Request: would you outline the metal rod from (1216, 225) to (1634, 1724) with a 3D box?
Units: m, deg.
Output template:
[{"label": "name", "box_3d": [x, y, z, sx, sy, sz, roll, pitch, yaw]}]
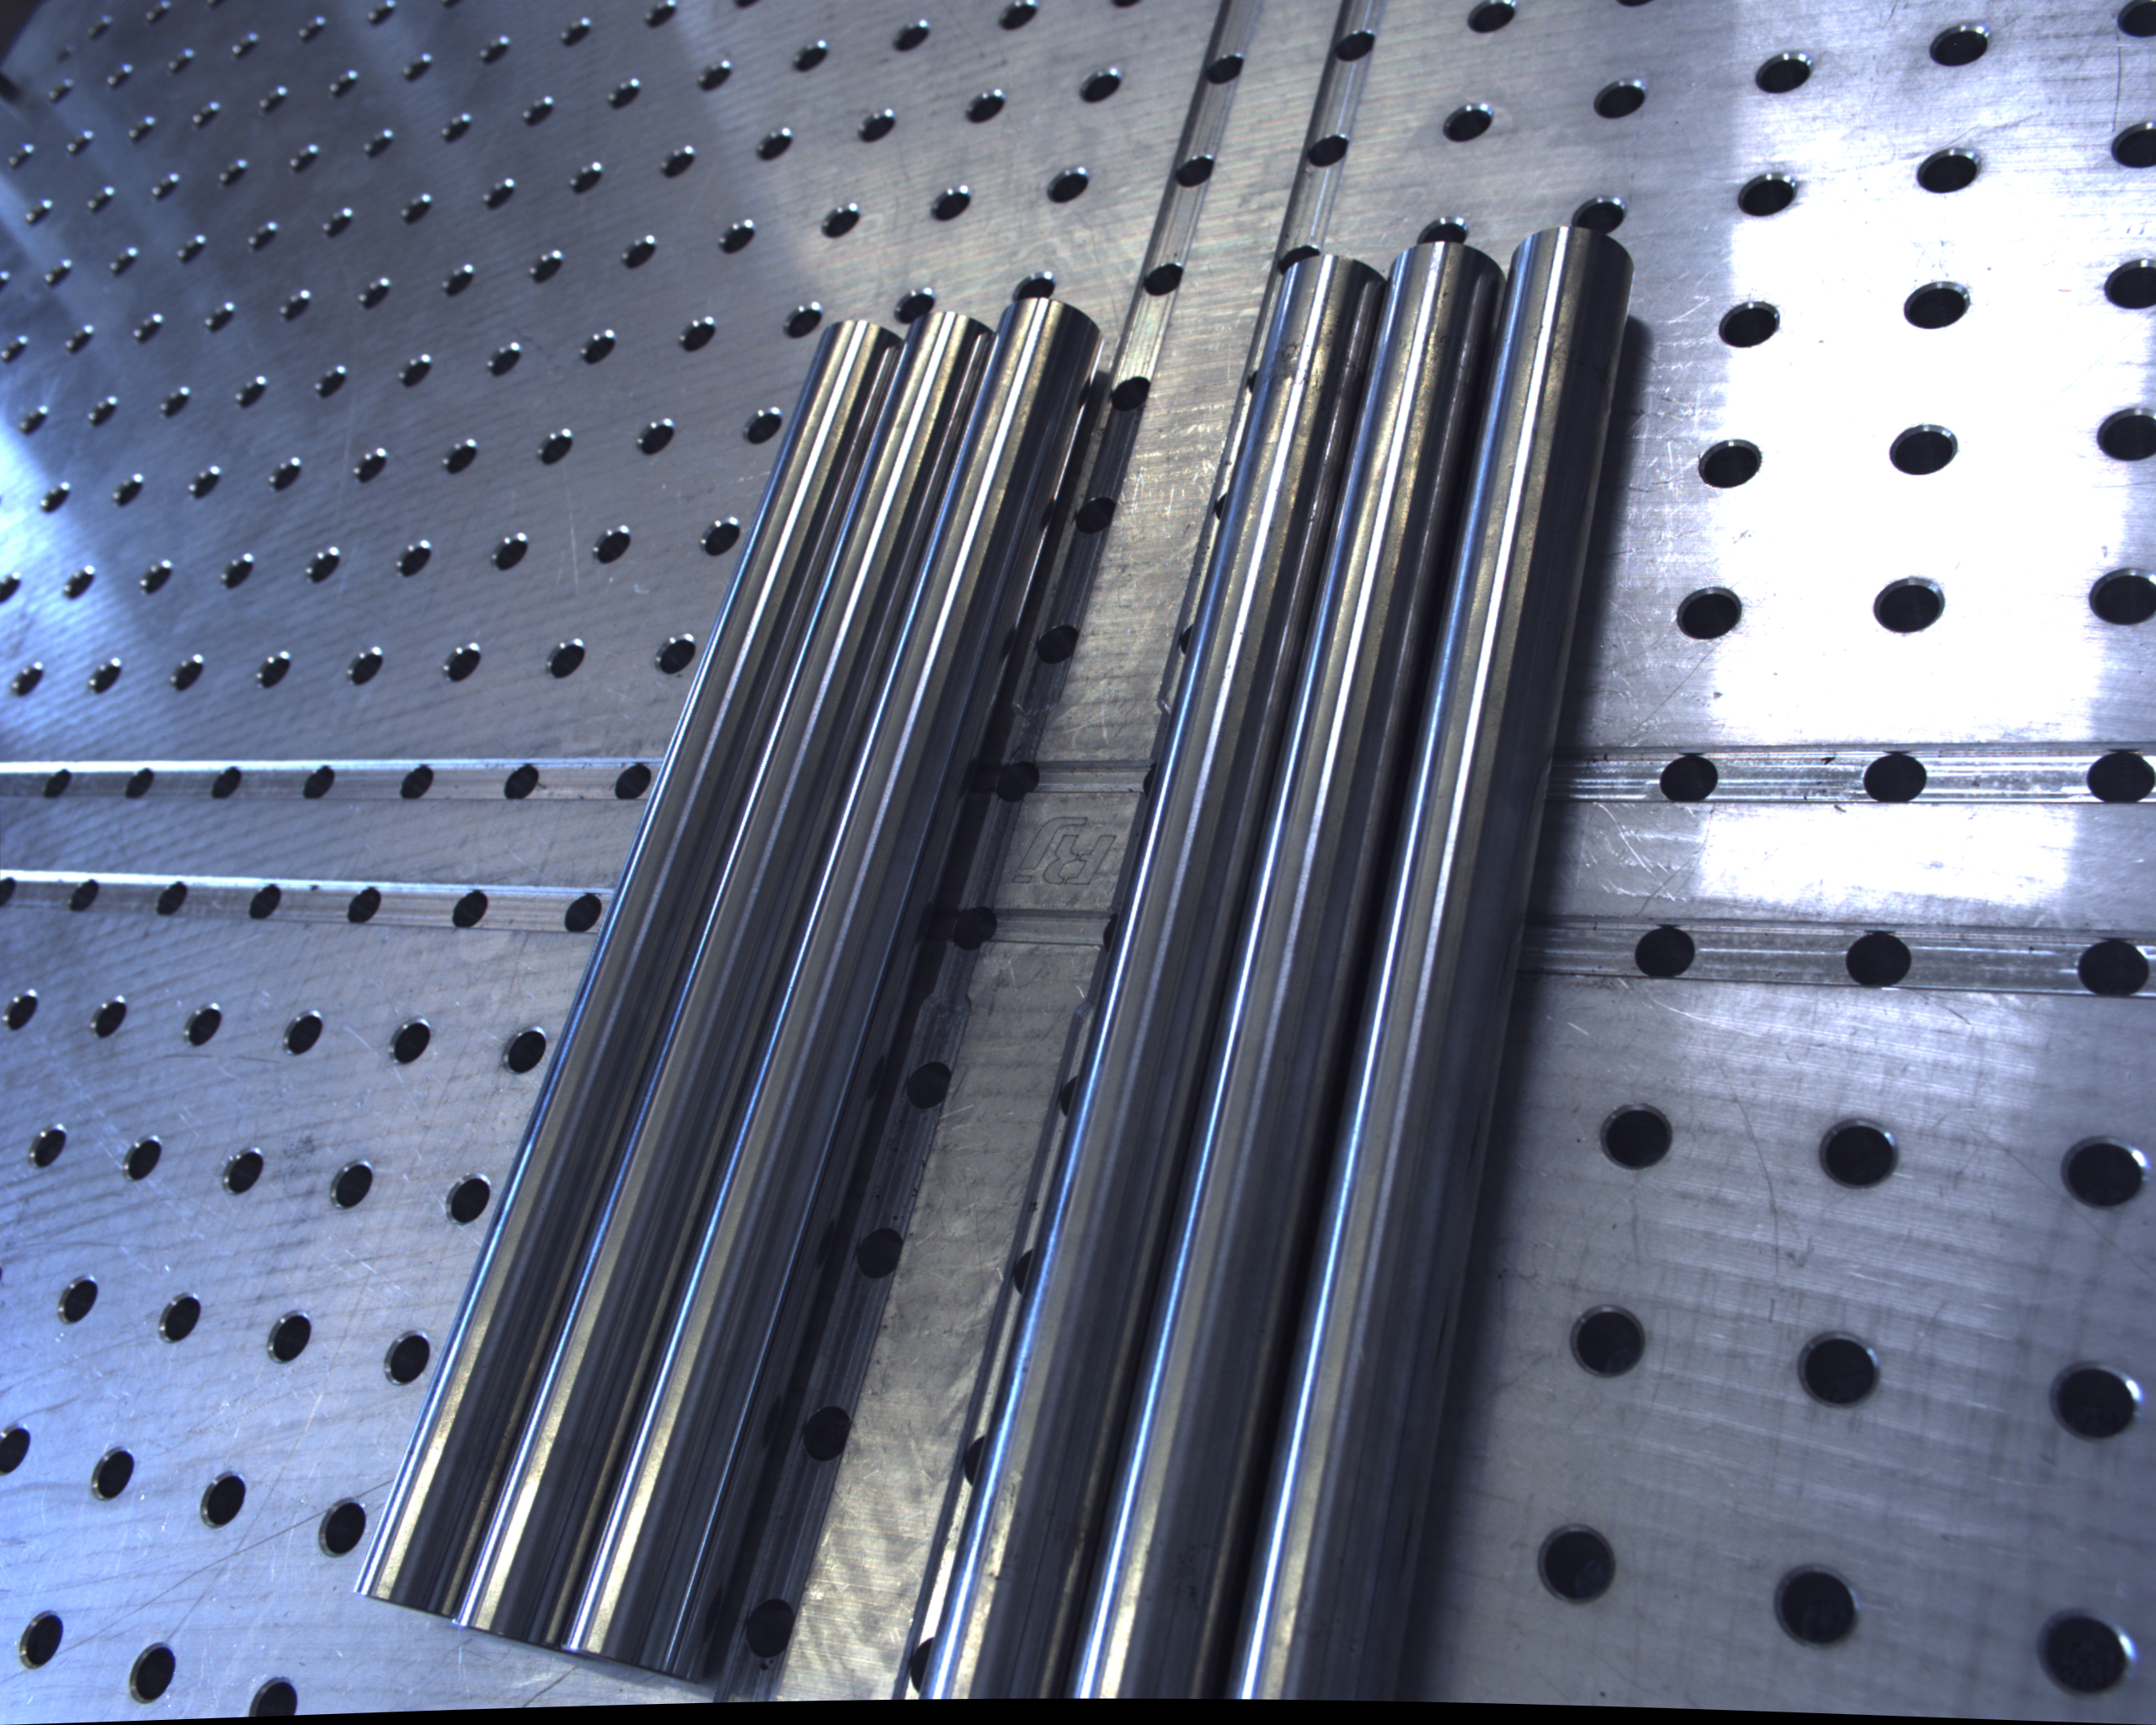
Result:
[{"label": "metal rod", "box_3d": [0.066, 0.009, 0.368, 0.025, 0.025, 0.300, 1, 62, 29]}]

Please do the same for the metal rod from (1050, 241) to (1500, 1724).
[{"label": "metal rod", "box_3d": [0.042, 0.009, 0.381, 0.025, 0.025, 0.300, 1, 62, 29]}]

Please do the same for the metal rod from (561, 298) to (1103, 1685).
[{"label": "metal rod", "box_3d": [-0.042, 0.008, 0.426, 0.025, 0.025, 0.300, 1, 62, 29]}]

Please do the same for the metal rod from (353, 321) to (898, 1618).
[{"label": "metal rod", "box_3d": [-0.087, 0.007, 0.450, 0.025, 0.025, 0.300, 1, 62, 29]}]

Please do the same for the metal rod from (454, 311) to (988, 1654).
[{"label": "metal rod", "box_3d": [-0.064, 0.008, 0.437, 0.025, 0.025, 0.300, 1, 62, 29]}]

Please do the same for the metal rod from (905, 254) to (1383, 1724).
[{"label": "metal rod", "box_3d": [0.021, 0.008, 0.393, 0.025, 0.025, 0.300, 1, 62, 29]}]
